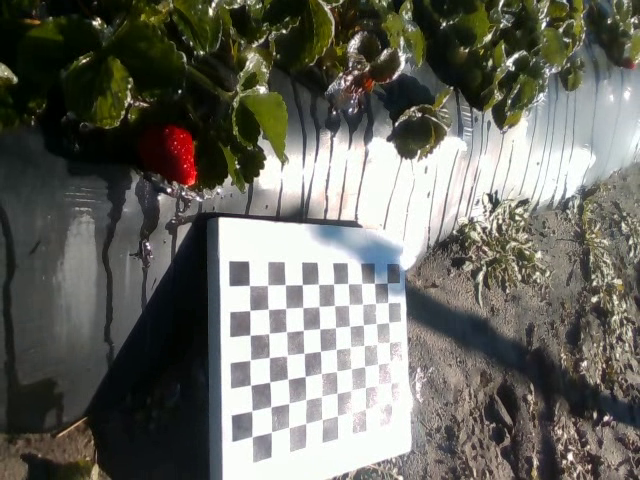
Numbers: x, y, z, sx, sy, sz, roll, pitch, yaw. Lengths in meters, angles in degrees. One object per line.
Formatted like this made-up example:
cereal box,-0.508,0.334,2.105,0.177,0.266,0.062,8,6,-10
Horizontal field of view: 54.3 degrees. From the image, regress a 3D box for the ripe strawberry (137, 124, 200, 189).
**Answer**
ripe strawberry,-0.098,-0.056,0.416,0.041,0.053,0.047,-6,-37,-45
